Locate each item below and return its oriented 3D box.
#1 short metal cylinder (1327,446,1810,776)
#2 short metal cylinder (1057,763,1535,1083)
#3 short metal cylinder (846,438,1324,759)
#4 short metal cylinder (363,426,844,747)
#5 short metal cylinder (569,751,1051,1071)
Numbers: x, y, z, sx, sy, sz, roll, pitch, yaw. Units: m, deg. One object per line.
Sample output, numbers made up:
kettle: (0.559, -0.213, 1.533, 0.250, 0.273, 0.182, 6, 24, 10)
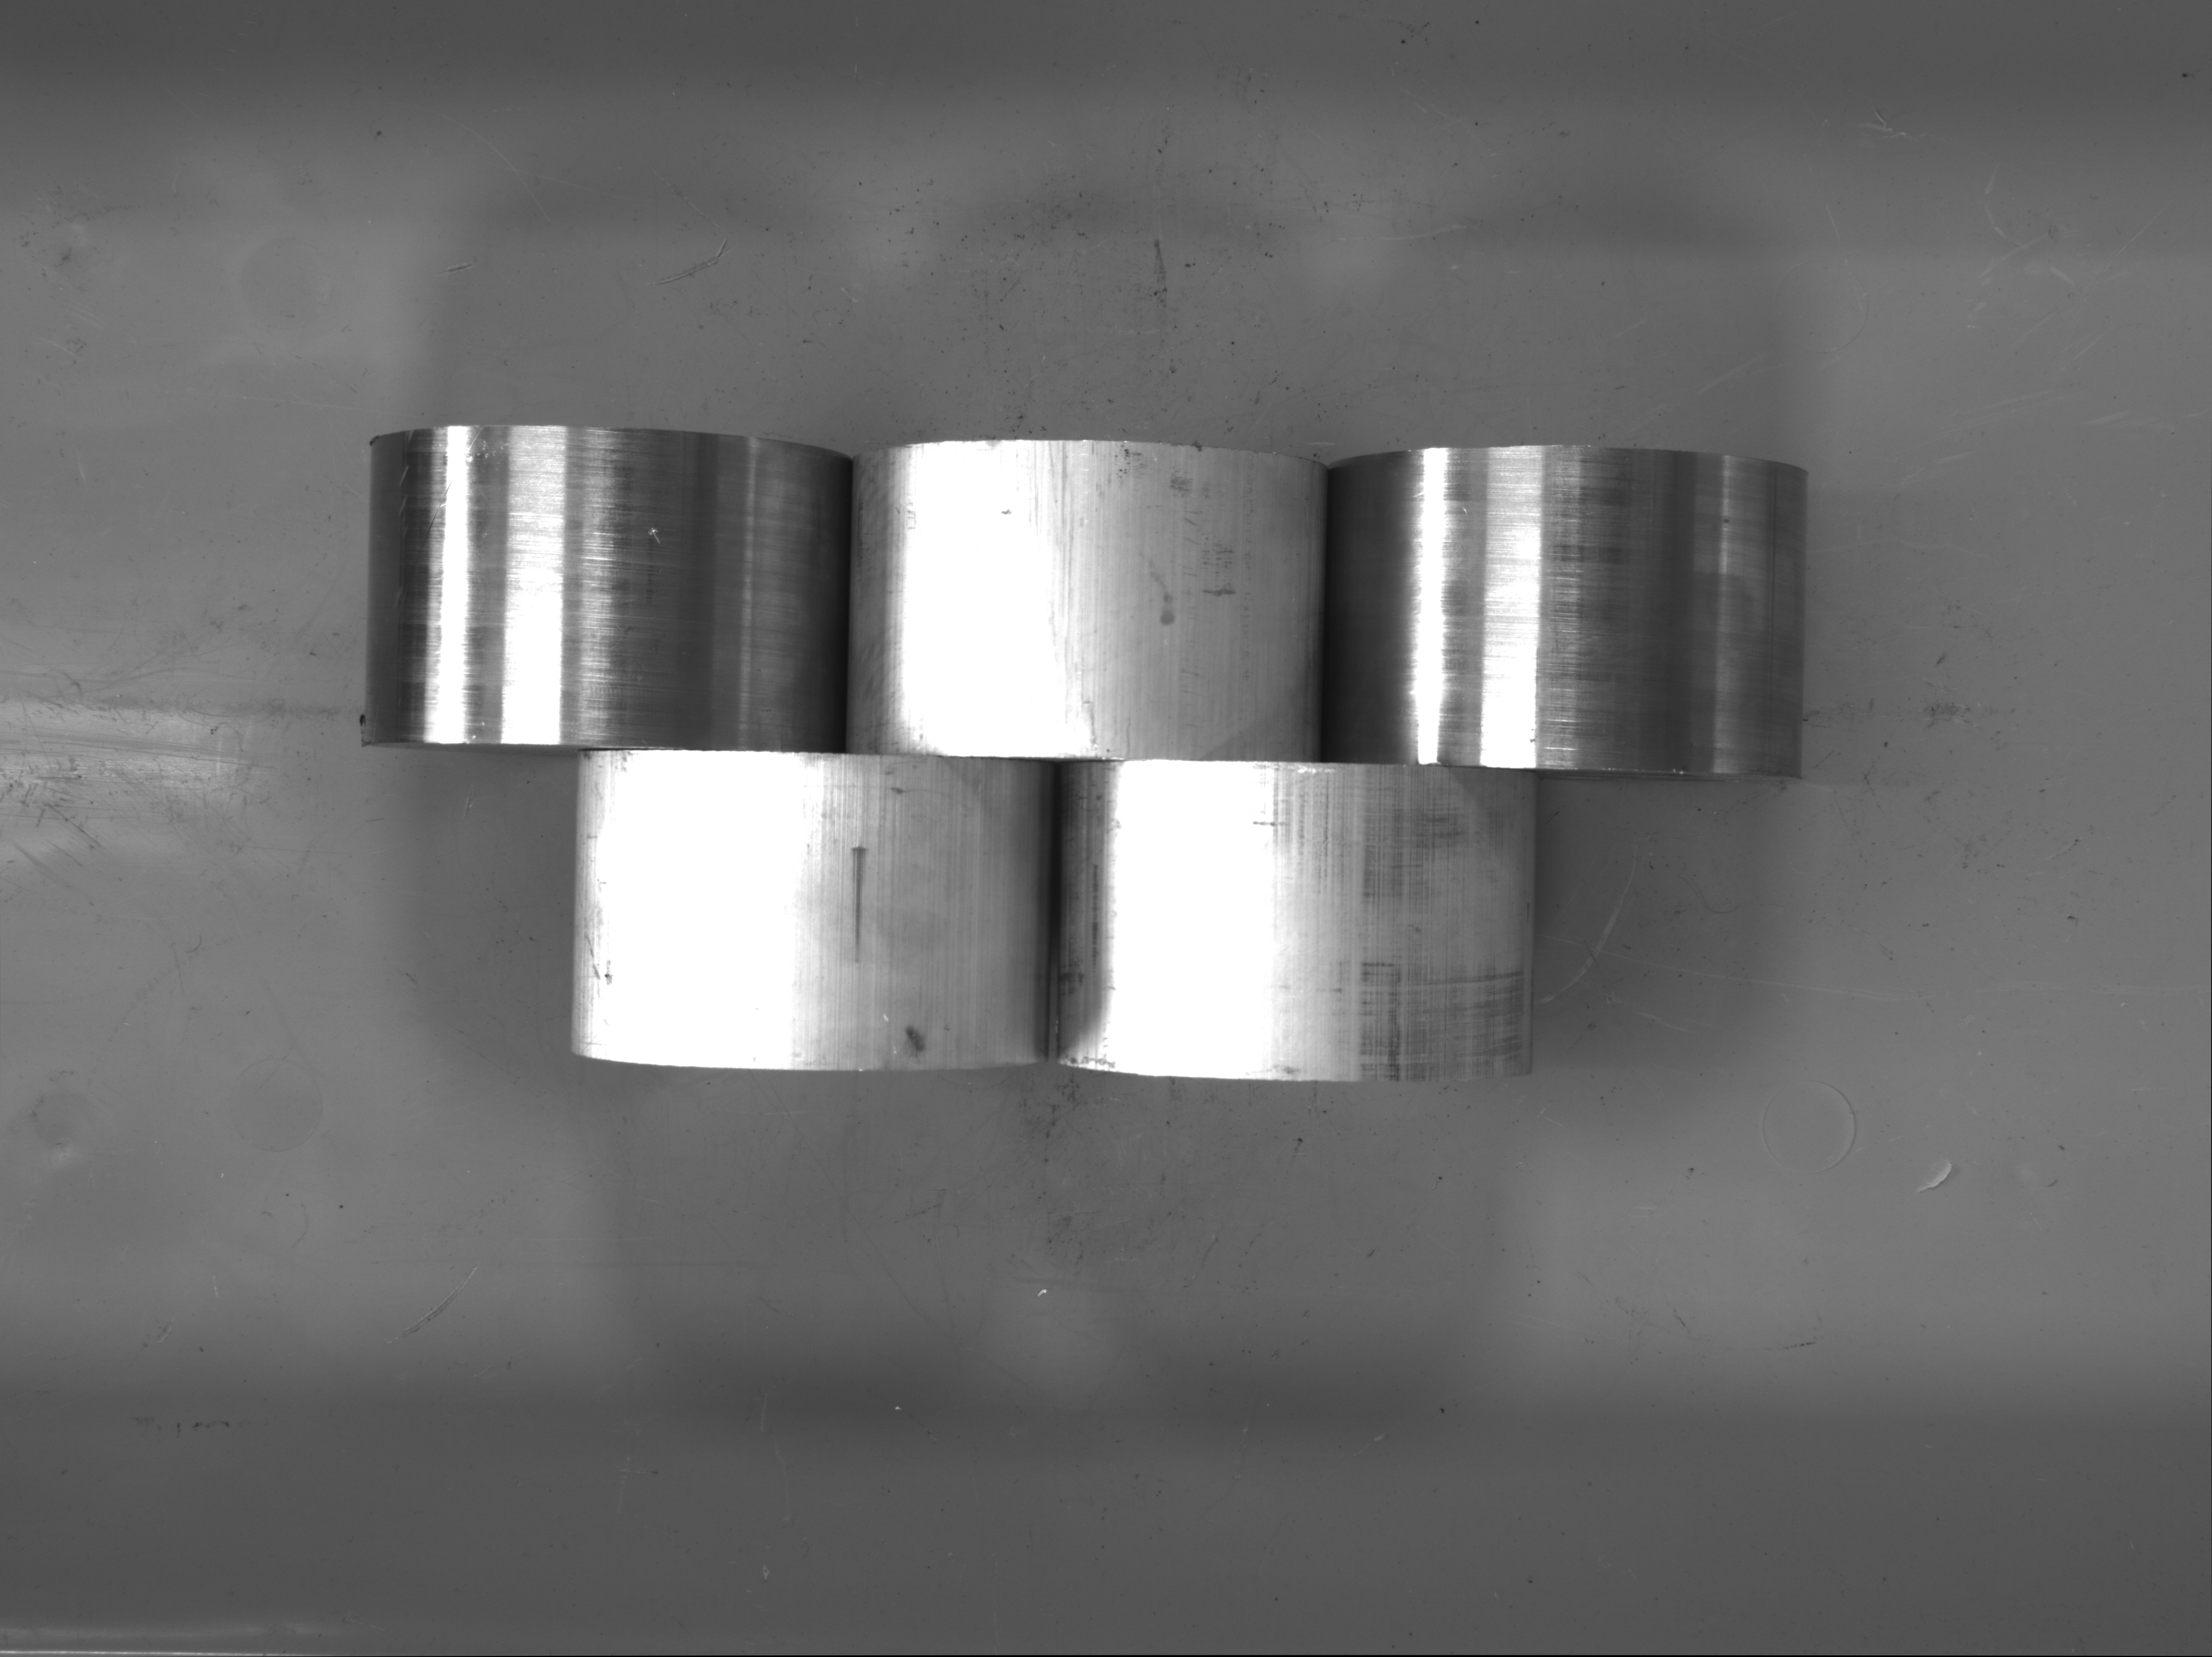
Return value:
short metal cylinder: (0.077, -0.035, 0.617, 0.080, 0.080, 0.050, 2, 90, 0)
short metal cylinder: (0.032, 0.015, 0.616, 0.080, 0.080, 0.050, 1, 90, 0)
short metal cylinder: (-0.003, -0.036, 0.616, 0.080, 0.080, 0.050, 1, 90, 0)
short metal cylinder: (-0.084, -0.038, 0.616, 0.080, 0.080, 0.050, 1, 90, 0)
short metal cylinder: (-0.050, 0.013, 0.616, 0.080, 0.080, 0.050, 1, 90, 0)
